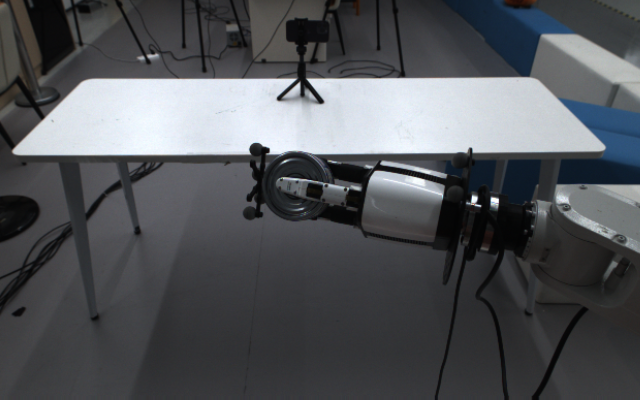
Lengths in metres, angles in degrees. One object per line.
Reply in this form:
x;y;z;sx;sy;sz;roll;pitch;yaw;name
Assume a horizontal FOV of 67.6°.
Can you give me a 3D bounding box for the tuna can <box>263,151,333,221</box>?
-0.023;-0.014;0.589;0.085;0.085;0.034;10;2;11;tuna can
